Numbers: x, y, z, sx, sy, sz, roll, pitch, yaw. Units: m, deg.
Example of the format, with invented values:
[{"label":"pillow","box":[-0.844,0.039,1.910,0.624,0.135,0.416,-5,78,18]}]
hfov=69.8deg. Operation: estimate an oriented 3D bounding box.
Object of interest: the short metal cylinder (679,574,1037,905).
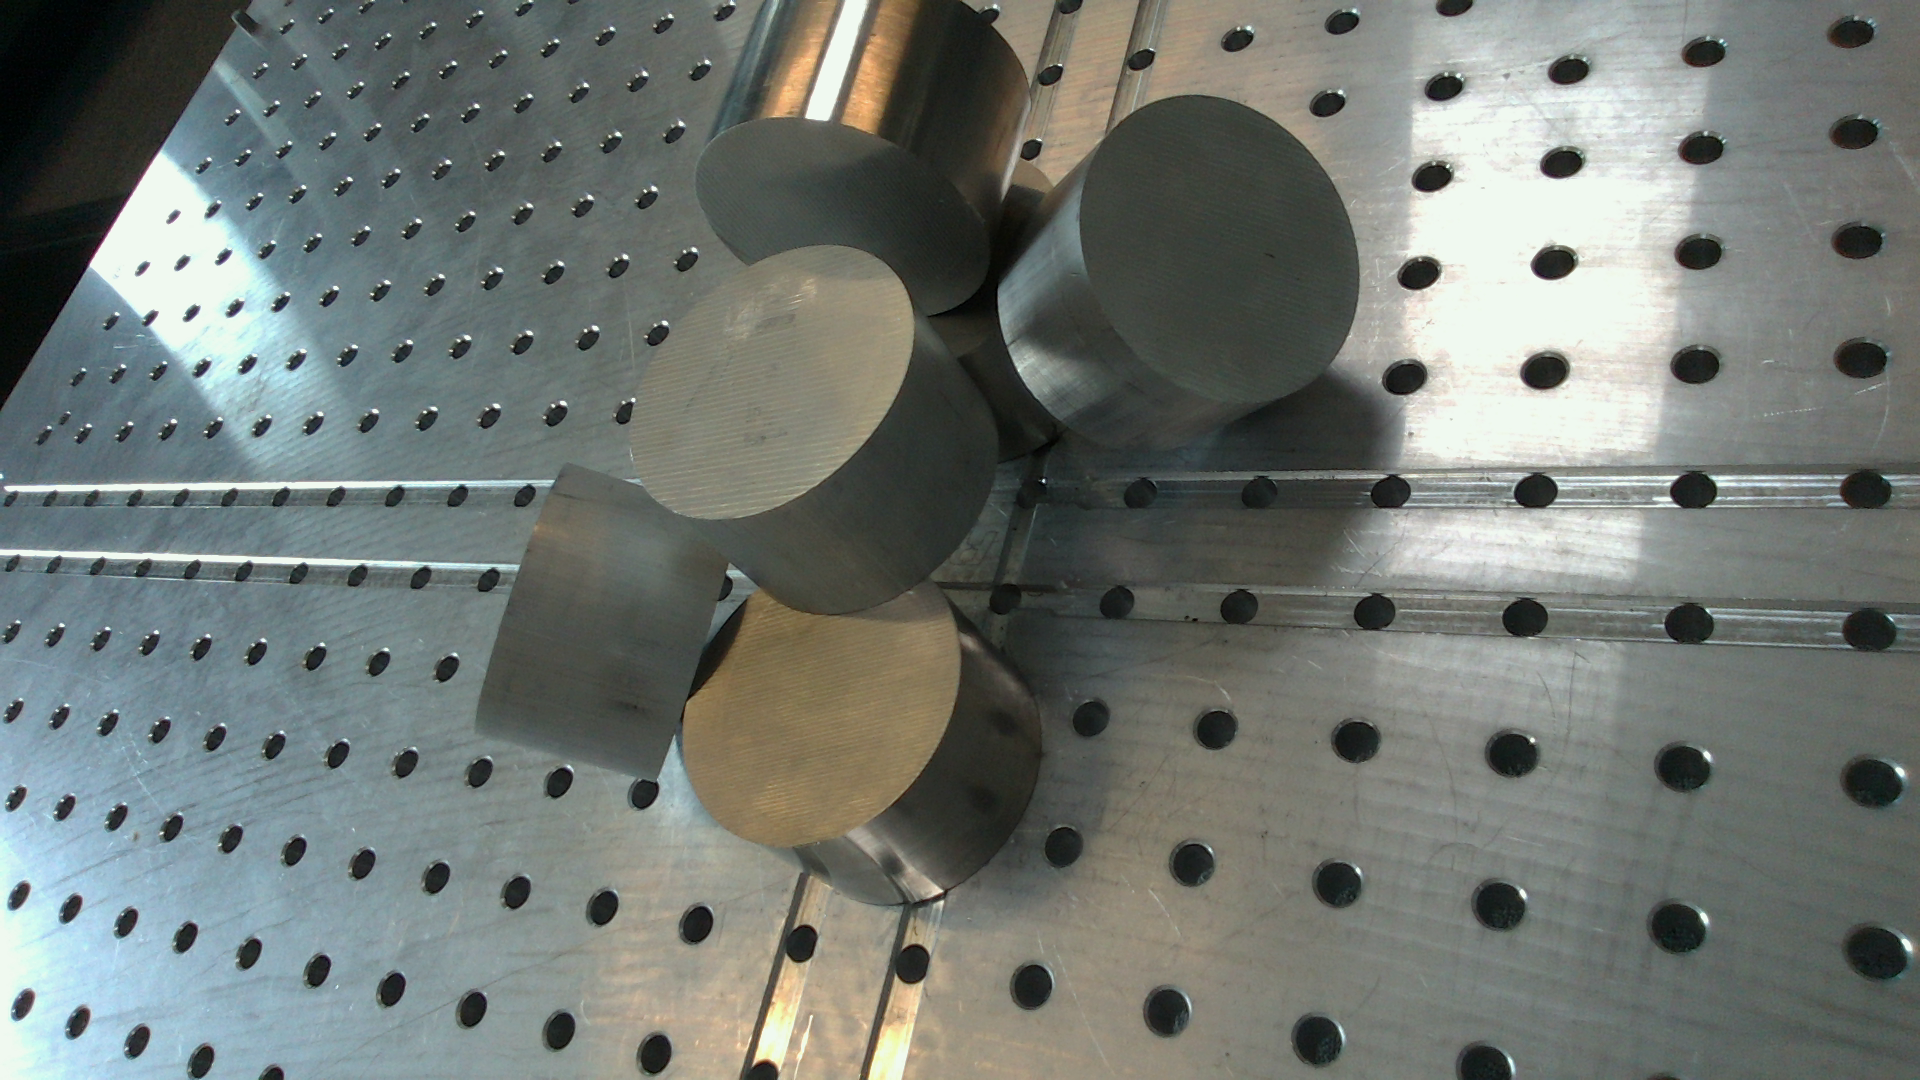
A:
[{"label":"short metal cylinder","box":[-0.026,0.050,0.363,0.080,0.050,0.080,-13,57,21]}]

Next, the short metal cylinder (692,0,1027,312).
[{"label":"short metal cylinder","box":[-0.026,-0.105,0.374,0.080,0.080,0.050,0,62,29]}]

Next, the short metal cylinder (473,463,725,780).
[{"label":"short metal cylinder","box":[-0.100,0.024,0.394,0.050,0.080,0.080,18,64,-12]}]

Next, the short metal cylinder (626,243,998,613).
[{"label":"short metal cylinder","box":[-0.037,-0.028,0.352,0.080,0.050,0.080,-13,56,21]}]

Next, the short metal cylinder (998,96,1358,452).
[{"label":"short metal cylinder","box":[0.056,-0.068,0.364,0.080,0.080,0.050,-66,14,-19]}]

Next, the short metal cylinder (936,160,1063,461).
[{"label":"short metal cylinder","box":[0.003,-0.070,0.422,0.080,0.050,0.080,-13,56,21]}]
